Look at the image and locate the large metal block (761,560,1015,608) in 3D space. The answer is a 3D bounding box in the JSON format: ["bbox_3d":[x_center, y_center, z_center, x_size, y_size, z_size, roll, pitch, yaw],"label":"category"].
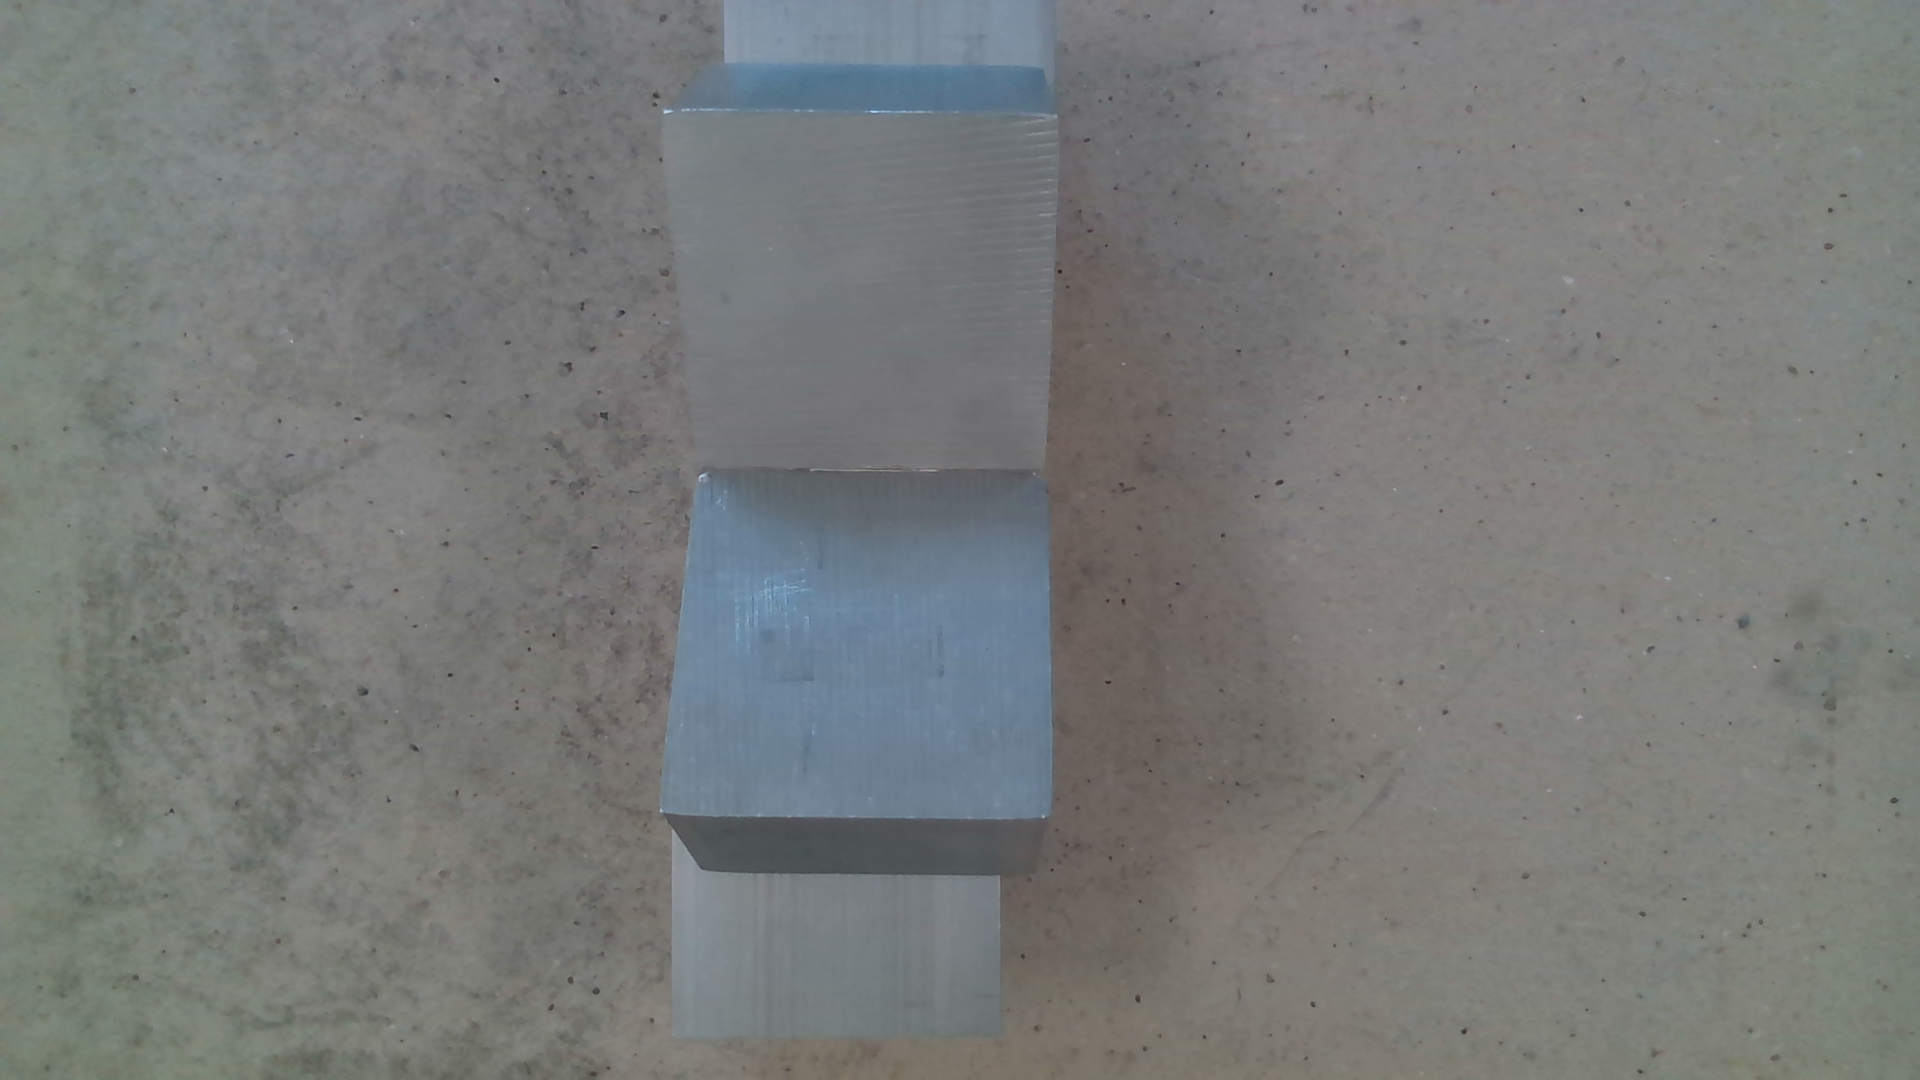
[{"bbox_3d":[-0.023,0.027,0.382,0.080,0.050,0.080,0,90,0],"label":"large metal block"}]

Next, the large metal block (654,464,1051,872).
[{"bbox_3d":[-0.021,0.030,0.318,0.080,0.050,0.080,1,63,0],"label":"large metal block"}]

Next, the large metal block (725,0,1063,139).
[{"bbox_3d":[-0.016,-0.121,0.367,0.080,0.080,0.050,-1,89,-1],"label":"large metal block"}]

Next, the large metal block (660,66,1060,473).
[{"bbox_3d":[-0.020,-0.063,0.317,0.080,0.050,0.080,0,119,0],"label":"large metal block"}]

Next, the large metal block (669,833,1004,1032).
[{"bbox_3d":[-0.030,0.093,0.370,0.080,0.080,0.050,0,91,0],"label":"large metal block"}]

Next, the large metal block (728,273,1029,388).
[{"bbox_3d":[-0.020,-0.054,0.382,0.080,0.050,0.080,0,90,0],"label":"large metal block"}]
